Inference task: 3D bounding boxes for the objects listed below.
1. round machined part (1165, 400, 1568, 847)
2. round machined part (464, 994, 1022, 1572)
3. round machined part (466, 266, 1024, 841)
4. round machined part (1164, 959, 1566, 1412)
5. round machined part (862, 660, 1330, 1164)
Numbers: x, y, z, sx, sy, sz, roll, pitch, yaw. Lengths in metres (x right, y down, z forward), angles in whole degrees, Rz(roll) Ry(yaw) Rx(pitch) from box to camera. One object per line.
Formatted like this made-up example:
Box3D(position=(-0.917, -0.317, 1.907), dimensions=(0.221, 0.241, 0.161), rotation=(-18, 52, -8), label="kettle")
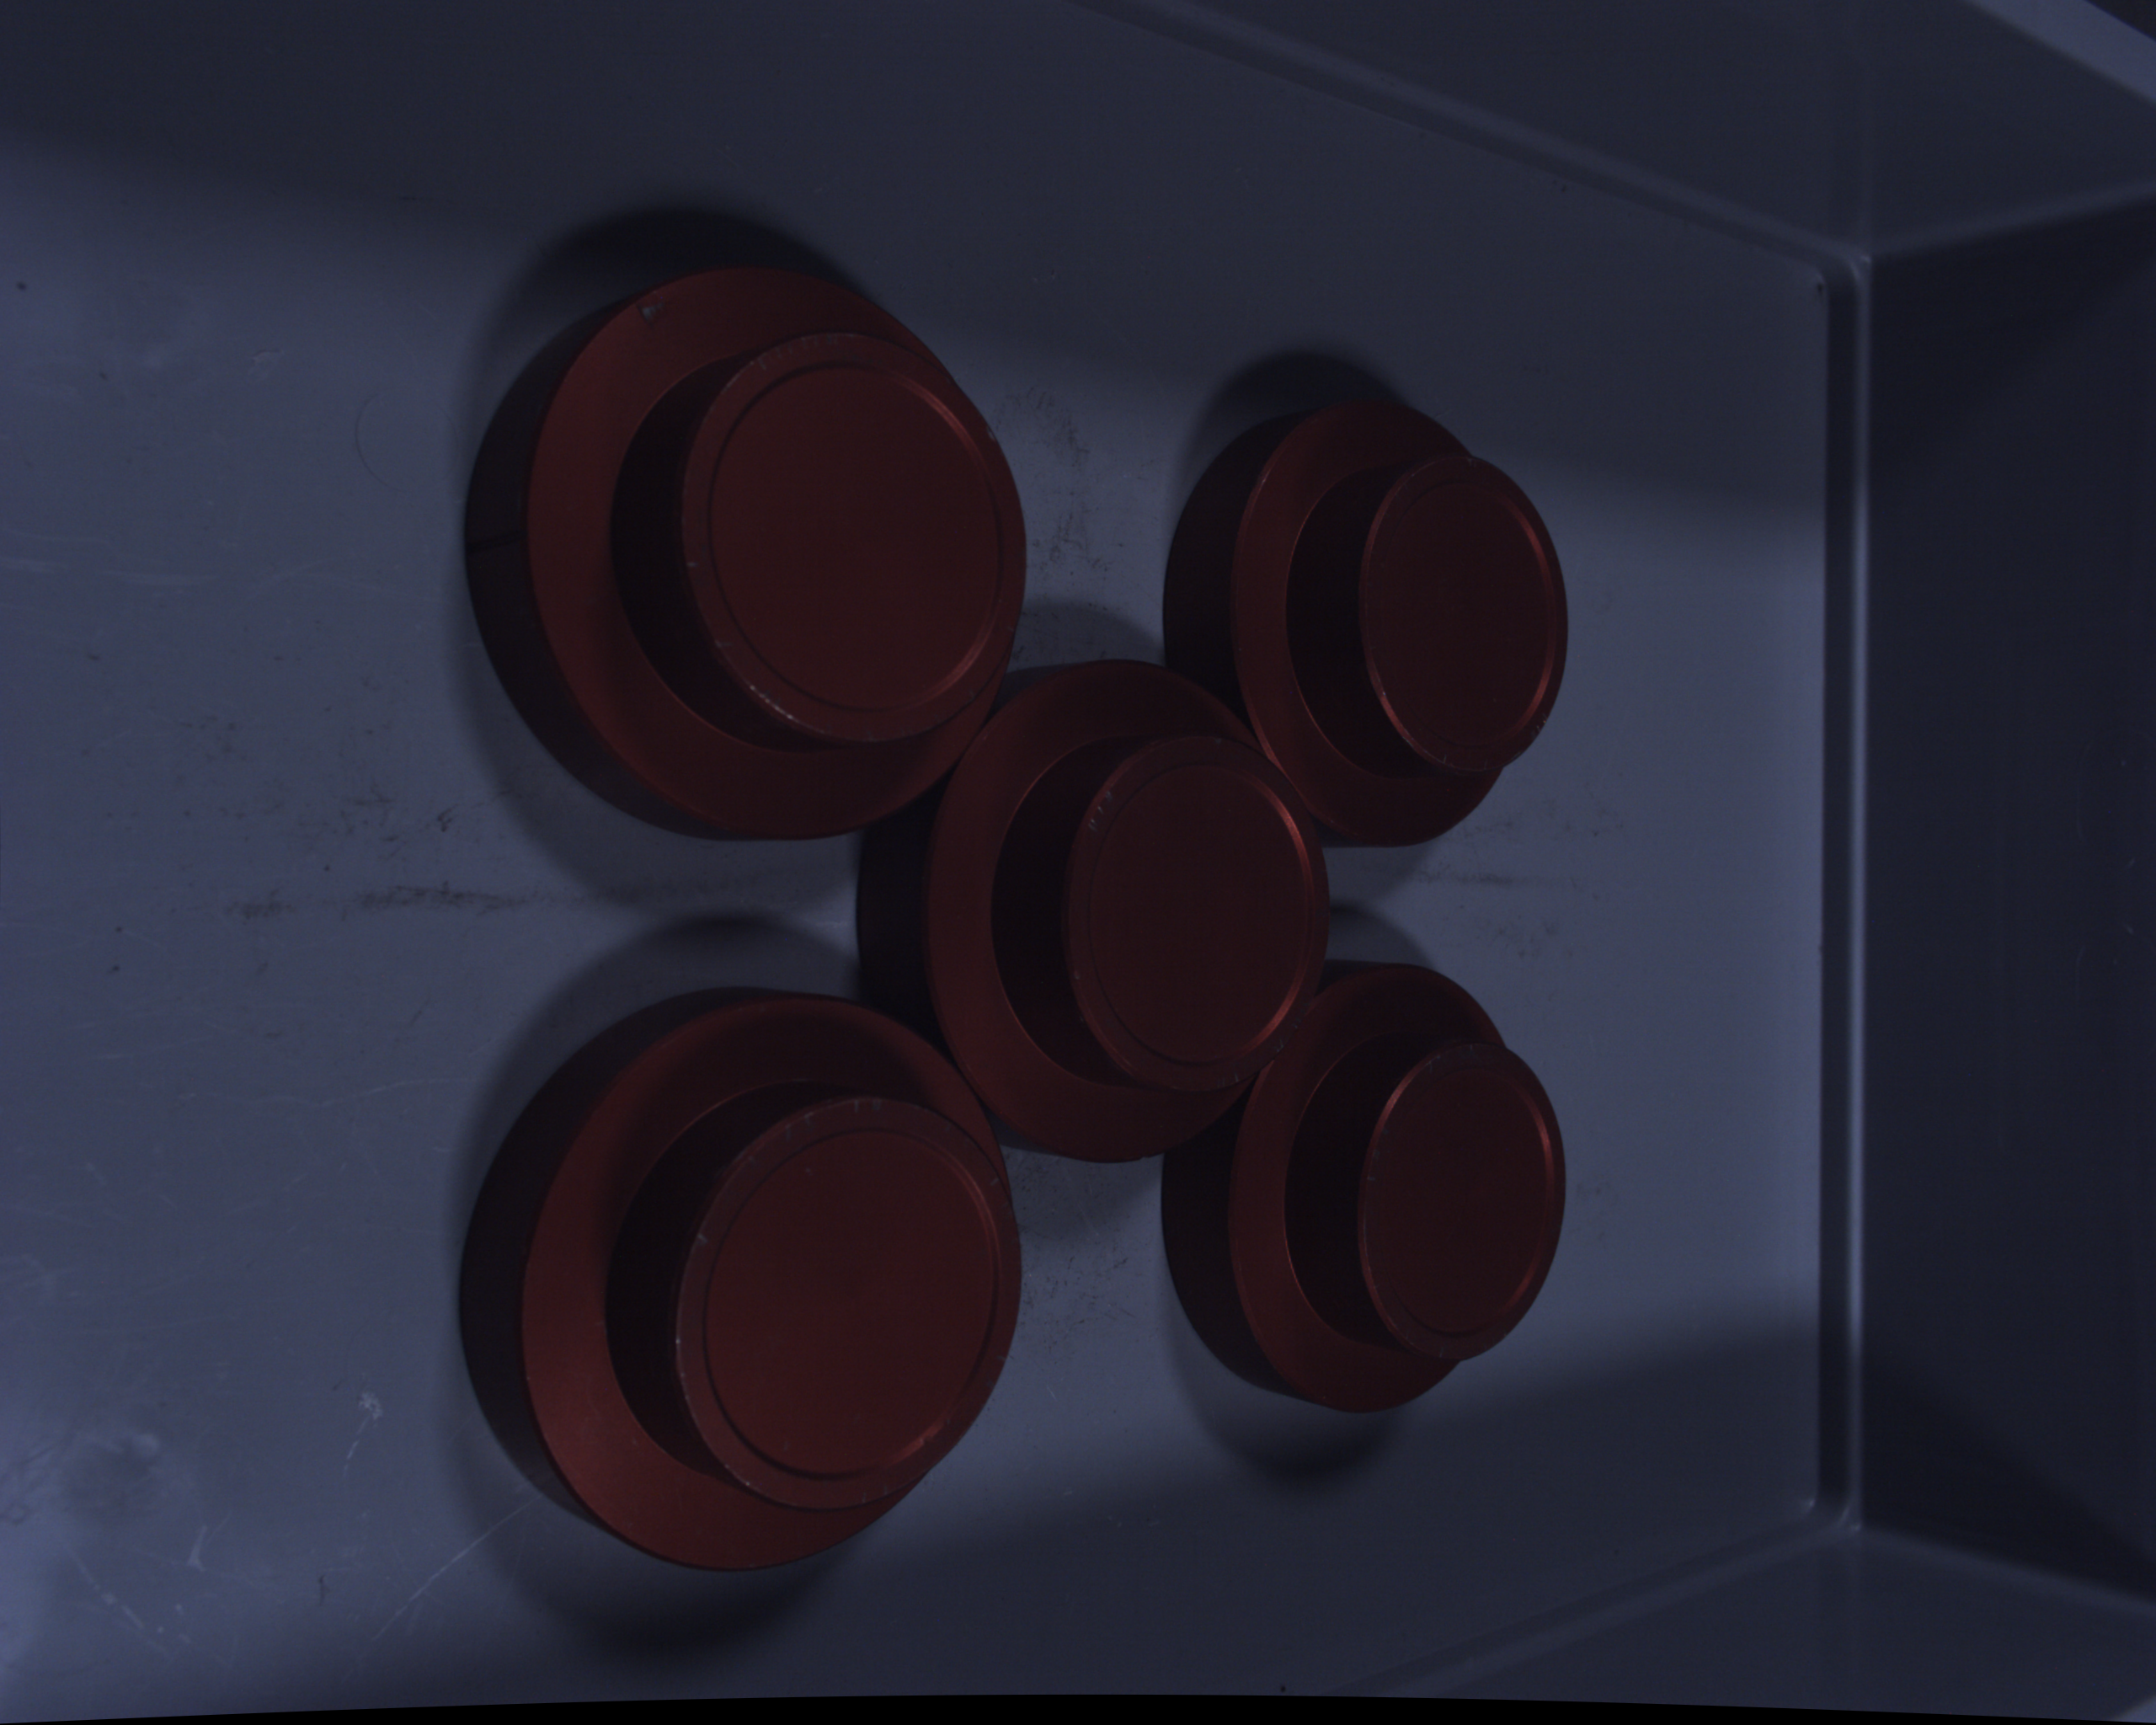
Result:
Box3D(position=(0.069, -0.052, 0.454), dimensions=(0.099, 0.042, 0.097), rotation=(0, 90, -40), label="round machined part")
Box3D(position=(-0.049, 0.071, 0.355), dimensions=(0.099, 0.042, 0.097), rotation=(0, 90, -40), label="round machined part")
Box3D(position=(-0.048, -0.052, 0.355), dimensions=(0.099, 0.042, 0.097), rotation=(0, 90, -40), label="round machined part")
Box3D(position=(0.069, 0.071, 0.454), dimensions=(0.099, 0.042, 0.097), rotation=(0, 90, -40), label="round machined part")
Box3D(position=(0.011, 0.010, 0.404), dimensions=(0.099, 0.042, 0.097), rotation=(0, 90, -40), label="round machined part")
